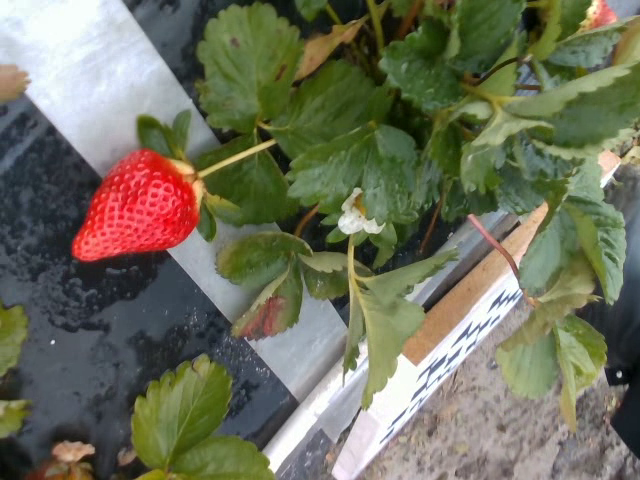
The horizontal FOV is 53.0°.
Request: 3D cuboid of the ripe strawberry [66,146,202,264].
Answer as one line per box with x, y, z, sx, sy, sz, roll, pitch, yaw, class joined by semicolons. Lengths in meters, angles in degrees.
-0.067;-0.010;0.225;0.051;0.037;0.042;-39;-19;-27;ripe strawberry
